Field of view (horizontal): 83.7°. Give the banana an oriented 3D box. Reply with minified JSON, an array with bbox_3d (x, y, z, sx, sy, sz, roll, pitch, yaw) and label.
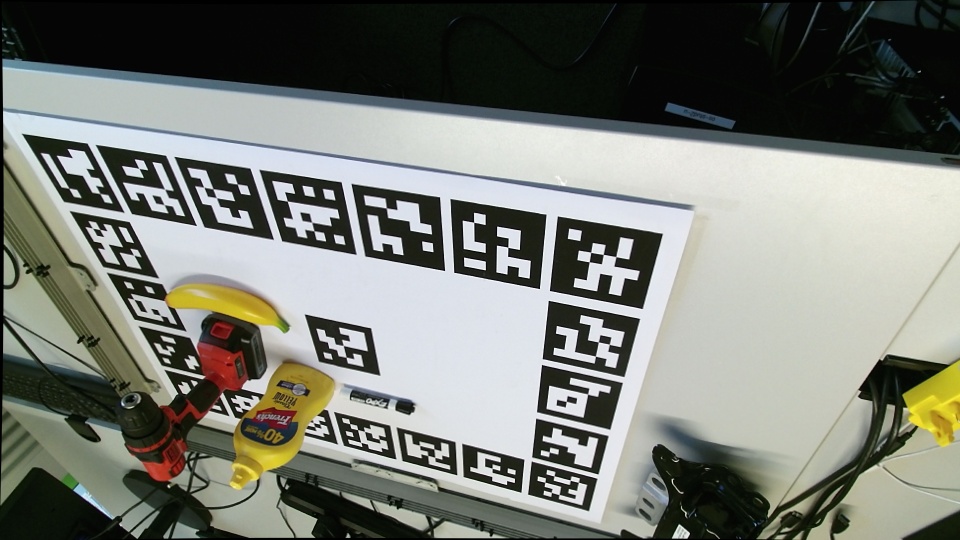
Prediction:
[{"bbox_3d":[-0.361,0.042,0.785,0.198,0.039,0.074,15,127,6],"label":"banana"}]

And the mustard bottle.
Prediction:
[{"bbox_3d":[-0.291,0.225,0.796,0.096,0.191,0.058,19,129,6],"label":"mustard bottle"}]

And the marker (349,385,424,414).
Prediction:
[{"bbox_3d":[-0.146,0.204,0.842,0.121,0.019,0.019,11,127,11],"label":"marker"}]

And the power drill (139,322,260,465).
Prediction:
[{"bbox_3d":[-0.397,0.165,0.766,0.057,0.186,0.184,22,132,5],"label":"power drill"}]
